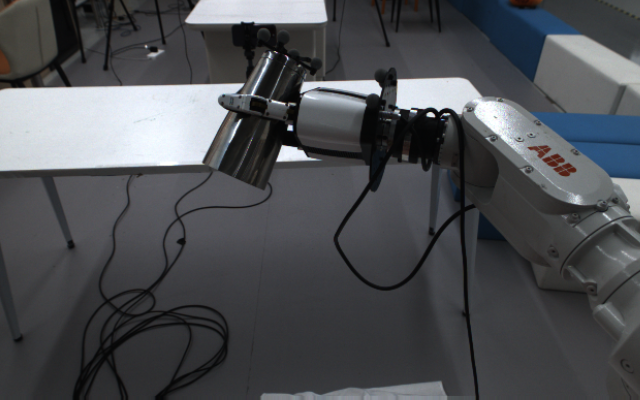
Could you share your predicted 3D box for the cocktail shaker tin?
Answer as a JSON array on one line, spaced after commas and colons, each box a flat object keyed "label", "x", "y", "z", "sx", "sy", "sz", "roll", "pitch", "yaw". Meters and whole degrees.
[{"label": "cocktail shaker tin", "x": -0.081, "y": -0.112, "z": 0.653, "sx": 0.093, "sy": 0.170, "sz": 0.093, "roll": 23, "pitch": 0, "yaw": 0}]
